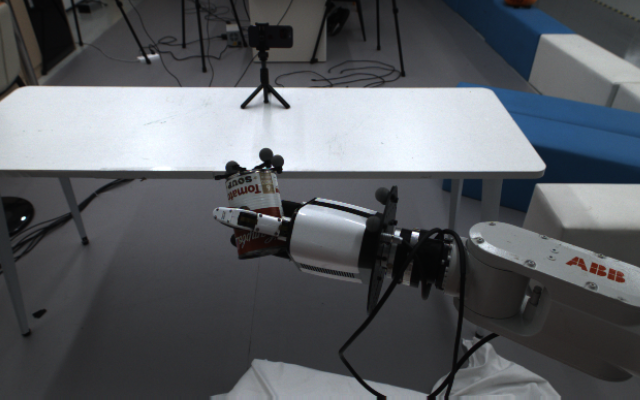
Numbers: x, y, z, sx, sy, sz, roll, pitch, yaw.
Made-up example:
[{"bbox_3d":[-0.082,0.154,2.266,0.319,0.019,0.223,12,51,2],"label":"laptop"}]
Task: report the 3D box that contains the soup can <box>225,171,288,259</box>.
[{"bbox_3d":[-0.078,0.020,0.617,0.067,0.067,0.101,-10,79,-17],"label":"soup can"}]
